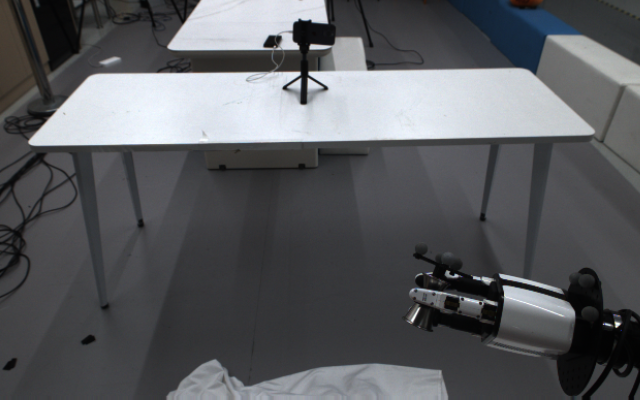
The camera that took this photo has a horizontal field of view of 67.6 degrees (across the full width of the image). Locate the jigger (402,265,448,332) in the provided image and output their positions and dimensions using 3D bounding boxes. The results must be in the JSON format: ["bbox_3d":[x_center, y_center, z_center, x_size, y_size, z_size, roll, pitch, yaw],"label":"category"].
[{"bbox_3d":[0.141,0.133,0.642,0.043,0.071,0.043,24,-3,1],"label":"jigger"}]
